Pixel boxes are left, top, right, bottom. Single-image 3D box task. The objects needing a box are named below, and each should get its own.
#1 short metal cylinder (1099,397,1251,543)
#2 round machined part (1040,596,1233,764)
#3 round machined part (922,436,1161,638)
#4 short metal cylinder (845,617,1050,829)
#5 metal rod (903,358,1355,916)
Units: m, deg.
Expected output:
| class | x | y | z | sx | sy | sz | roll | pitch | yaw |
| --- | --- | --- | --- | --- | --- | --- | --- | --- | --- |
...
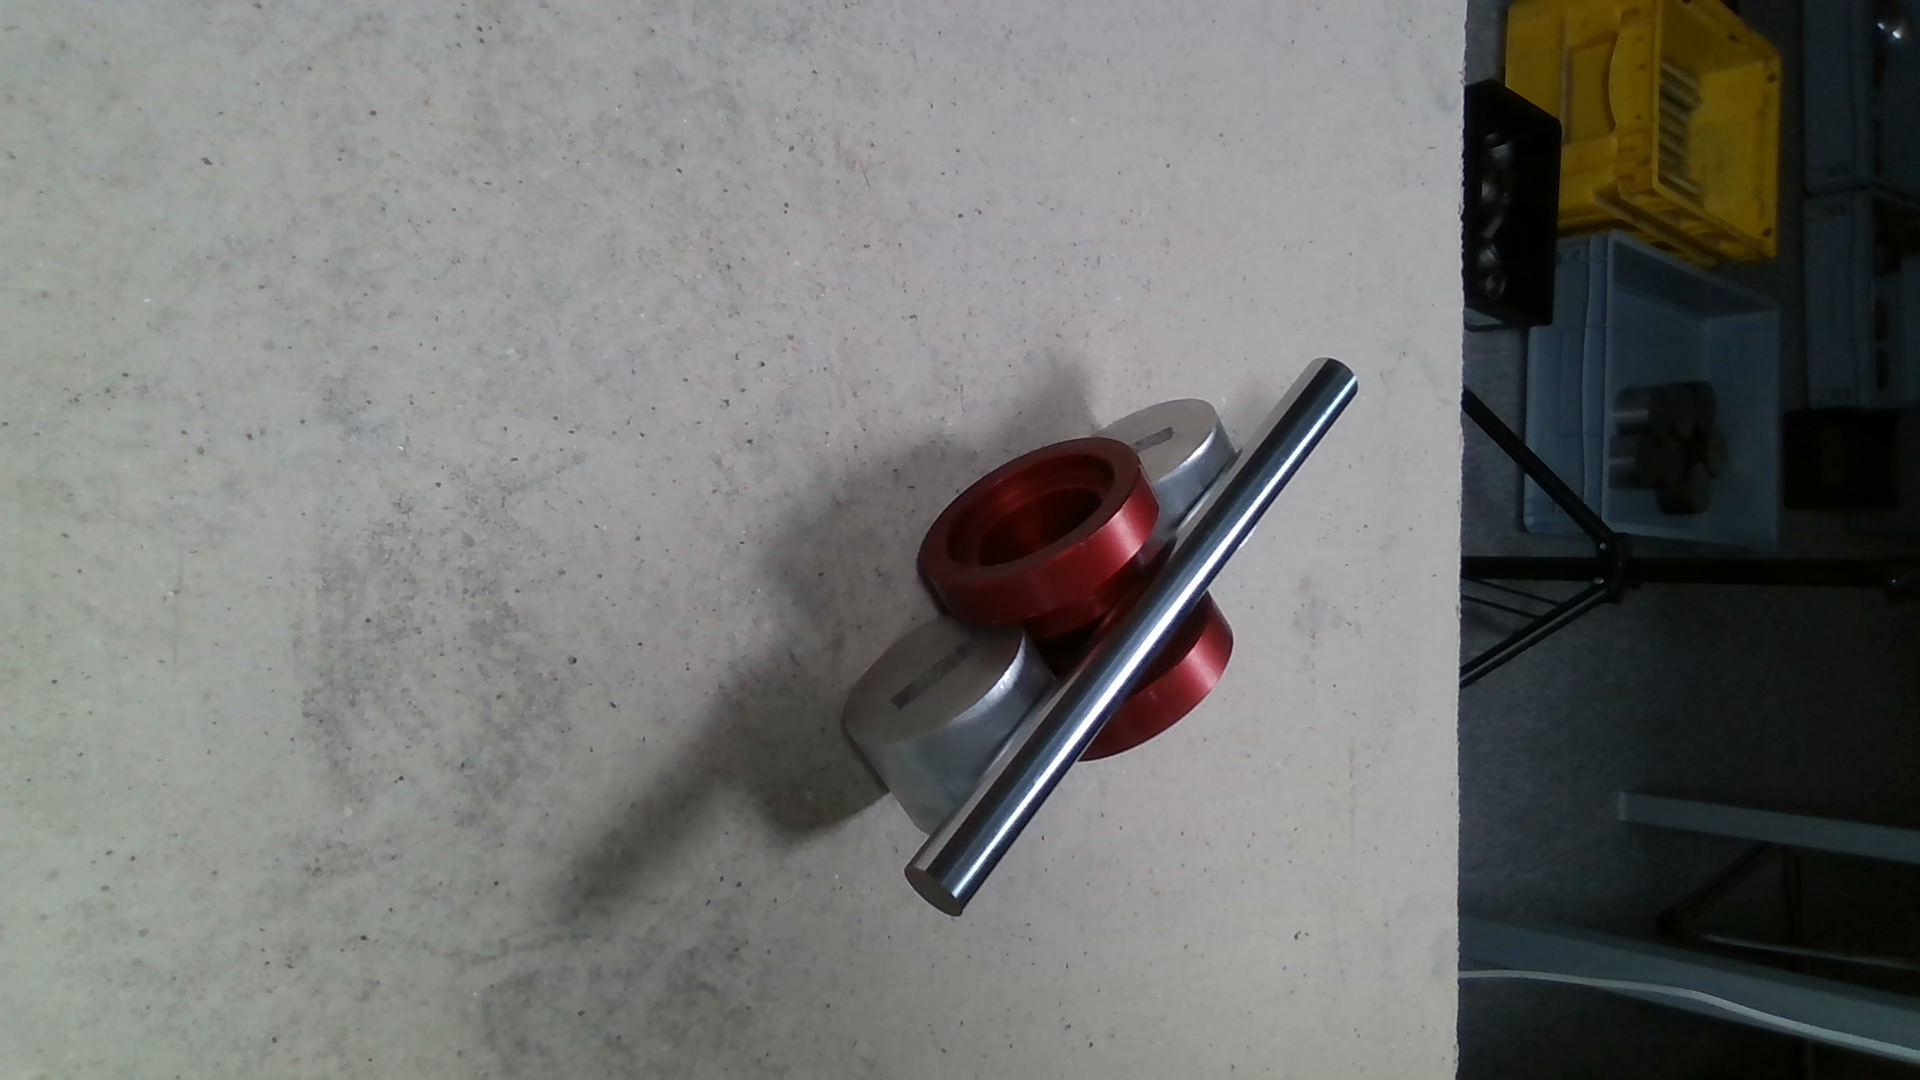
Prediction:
| class | x | y | z | sx | sy | sz | roll | pitch | yaw |
| --- | --- | --- | --- | --- | --- | --- | --- | --- | --- |
| short metal cylinder | 0.089 | -0.021 | 0.622 | 0.080 | 0.080 | 0.050 | -47 | 118 | -30 |
| round machined part | 0.063 | 0.047 | 0.589 | 0.098 | 0.098 | 0.042 | -47 | 113 | -30 |
| round machined part | 0.037 | 0.003 | 0.565 | 0.098 | 0.098 | 0.042 | -47 | 122 | -30 |
| short metal cylinder | 0.001 | 0.071 | 0.548 | 0.080 | 0.080 | 0.050 | -47 | 118 | -30 |
| metal rod | 0.078 | 0.024 | 0.545 | 0.299 | 0.025 | 0.025 | -48 | 118 | -30 |
